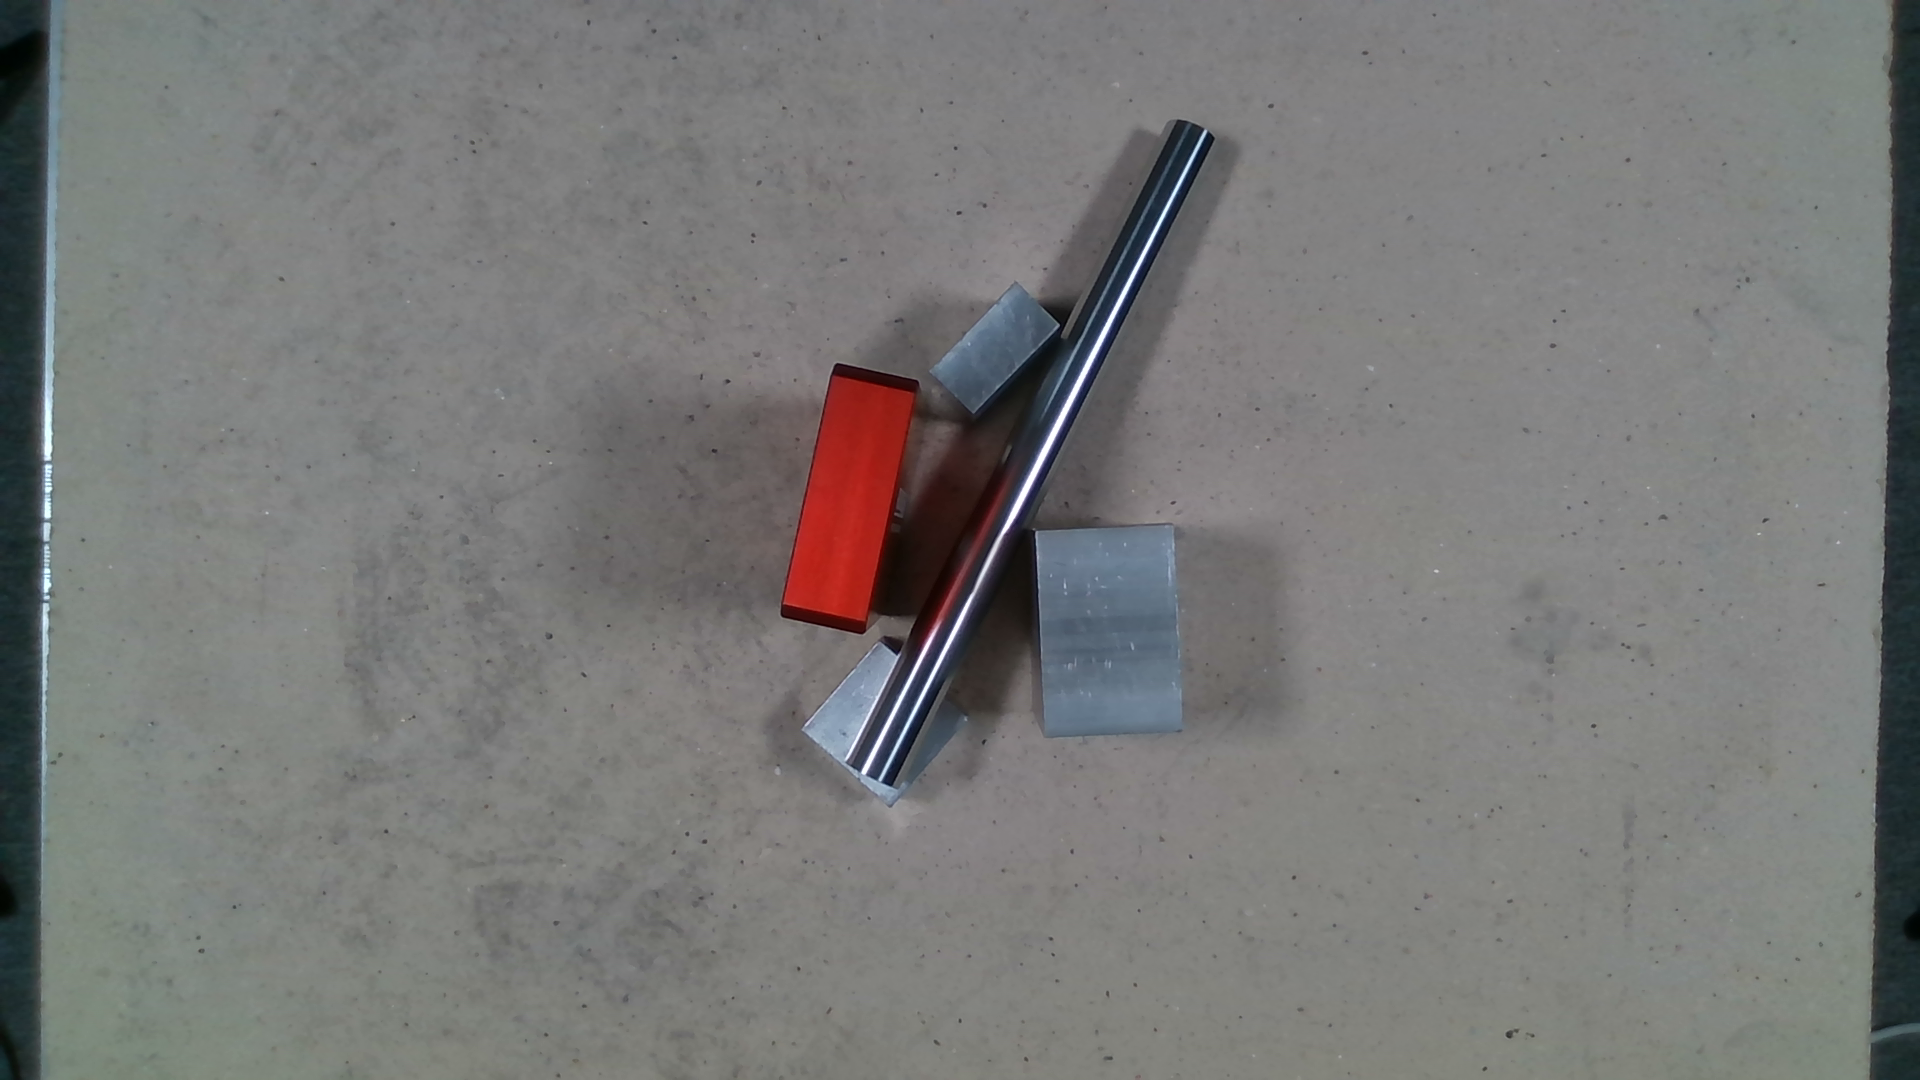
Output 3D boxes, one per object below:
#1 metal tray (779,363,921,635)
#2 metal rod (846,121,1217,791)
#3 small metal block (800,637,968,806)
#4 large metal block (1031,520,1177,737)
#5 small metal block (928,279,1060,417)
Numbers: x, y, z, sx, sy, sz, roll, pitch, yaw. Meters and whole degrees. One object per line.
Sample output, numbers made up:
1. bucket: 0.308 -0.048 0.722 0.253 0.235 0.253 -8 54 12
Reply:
1. metal tray: -0.039 -0.014 0.535 0.030 0.130 0.090 12 90 0
2. metal rod: 0.031 -0.037 0.573 0.025 0.025 0.300 26 85 0
3. small metal block: -0.032 0.076 0.588 0.050 0.025 0.050 41 90 0
4. large metal block: 0.055 0.033 0.559 0.050 0.080 0.080 -2 90 0
5. small metal block: 0.014 -0.077 0.573 0.025 0.050 0.050 45 90 0
